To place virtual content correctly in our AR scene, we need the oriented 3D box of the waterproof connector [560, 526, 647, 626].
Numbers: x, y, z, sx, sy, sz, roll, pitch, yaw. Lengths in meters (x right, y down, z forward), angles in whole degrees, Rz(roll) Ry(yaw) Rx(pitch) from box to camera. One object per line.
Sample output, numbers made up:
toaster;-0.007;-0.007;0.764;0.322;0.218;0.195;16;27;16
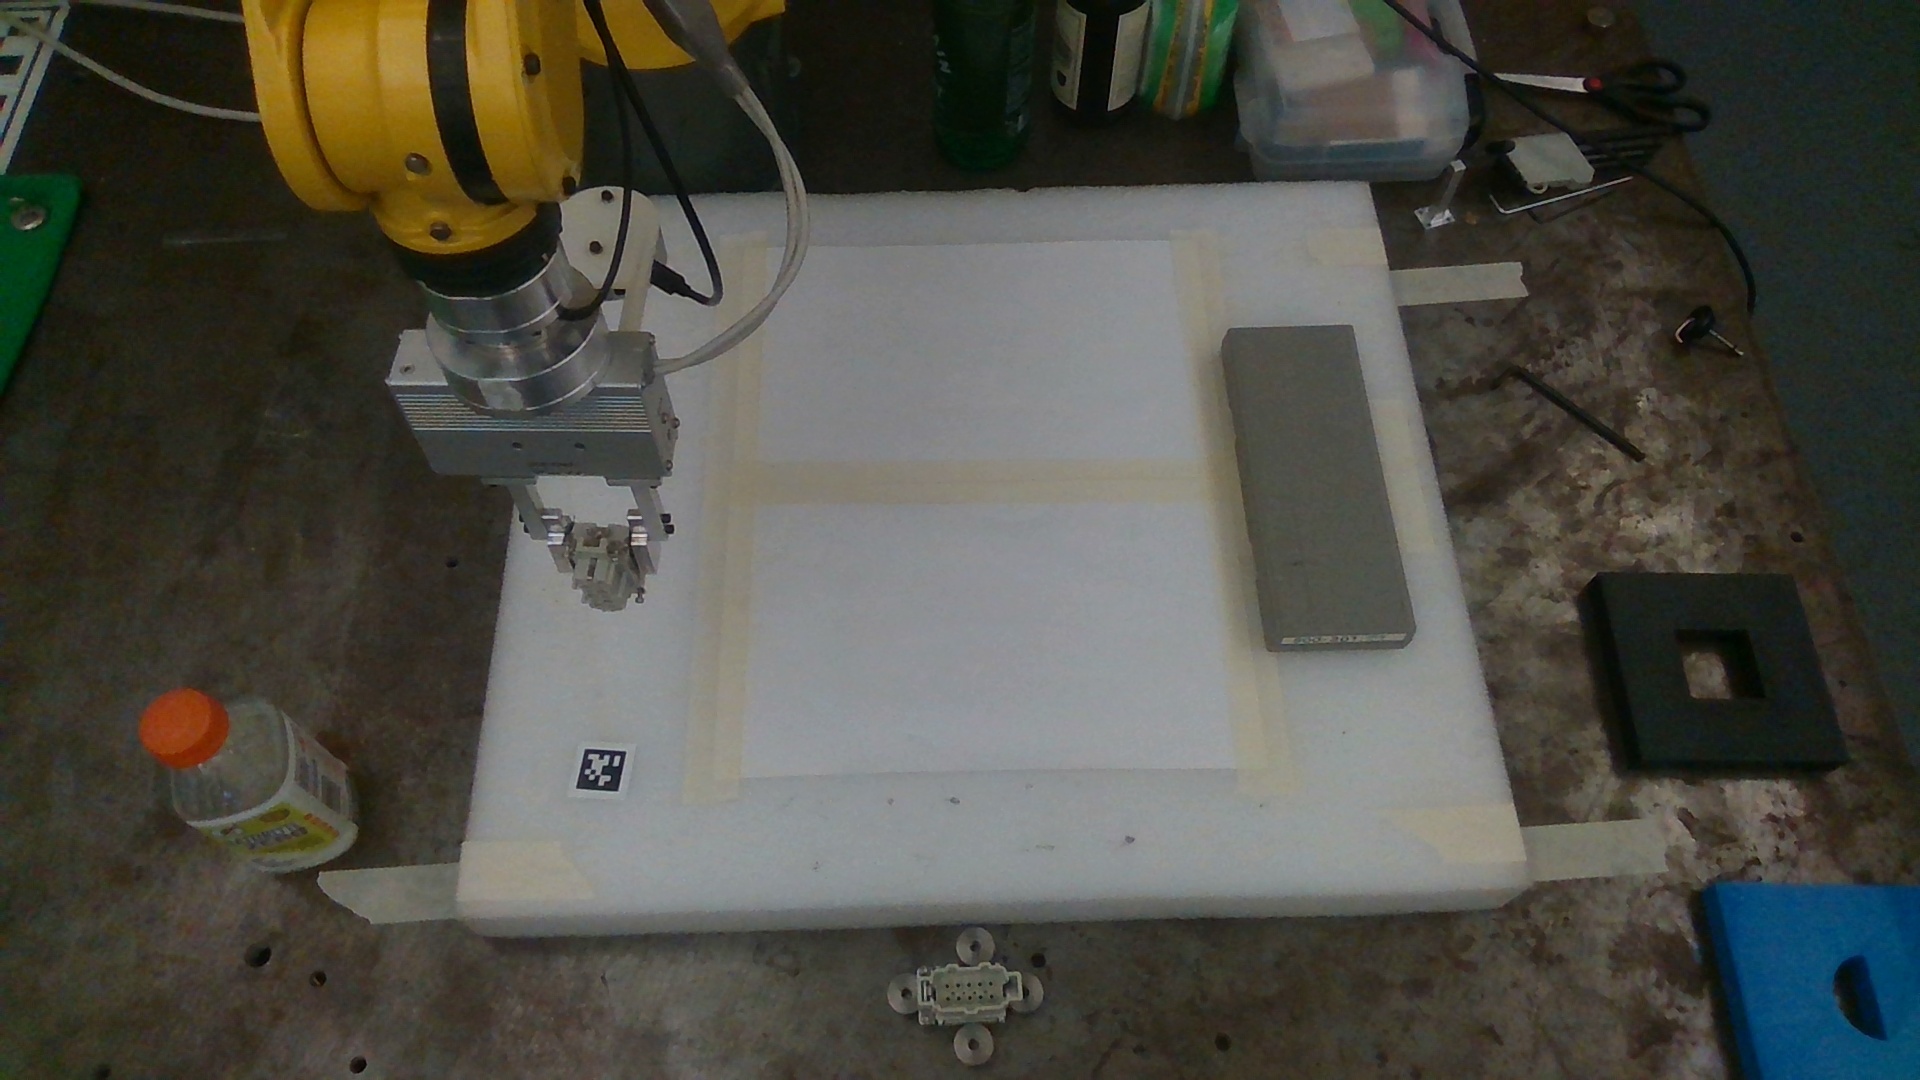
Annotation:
waterproof connector;-0.207;0.021;0.804;0.037;0.069;0.038;6;56;4
